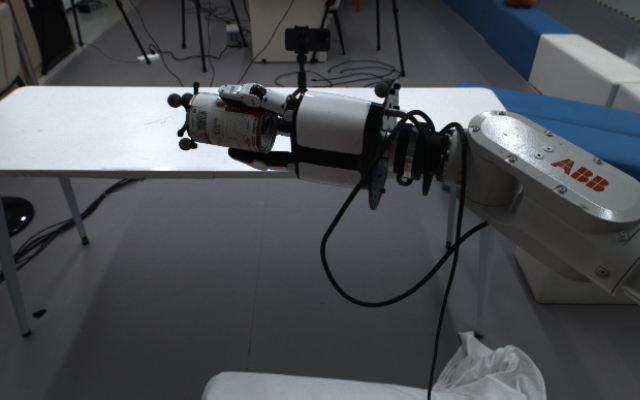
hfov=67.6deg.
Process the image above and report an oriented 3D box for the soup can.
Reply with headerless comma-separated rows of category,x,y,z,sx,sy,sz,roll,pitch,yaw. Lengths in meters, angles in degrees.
soup can,-0.112,-0.101,0.632,0.101,0.067,0.067,10,36,10
